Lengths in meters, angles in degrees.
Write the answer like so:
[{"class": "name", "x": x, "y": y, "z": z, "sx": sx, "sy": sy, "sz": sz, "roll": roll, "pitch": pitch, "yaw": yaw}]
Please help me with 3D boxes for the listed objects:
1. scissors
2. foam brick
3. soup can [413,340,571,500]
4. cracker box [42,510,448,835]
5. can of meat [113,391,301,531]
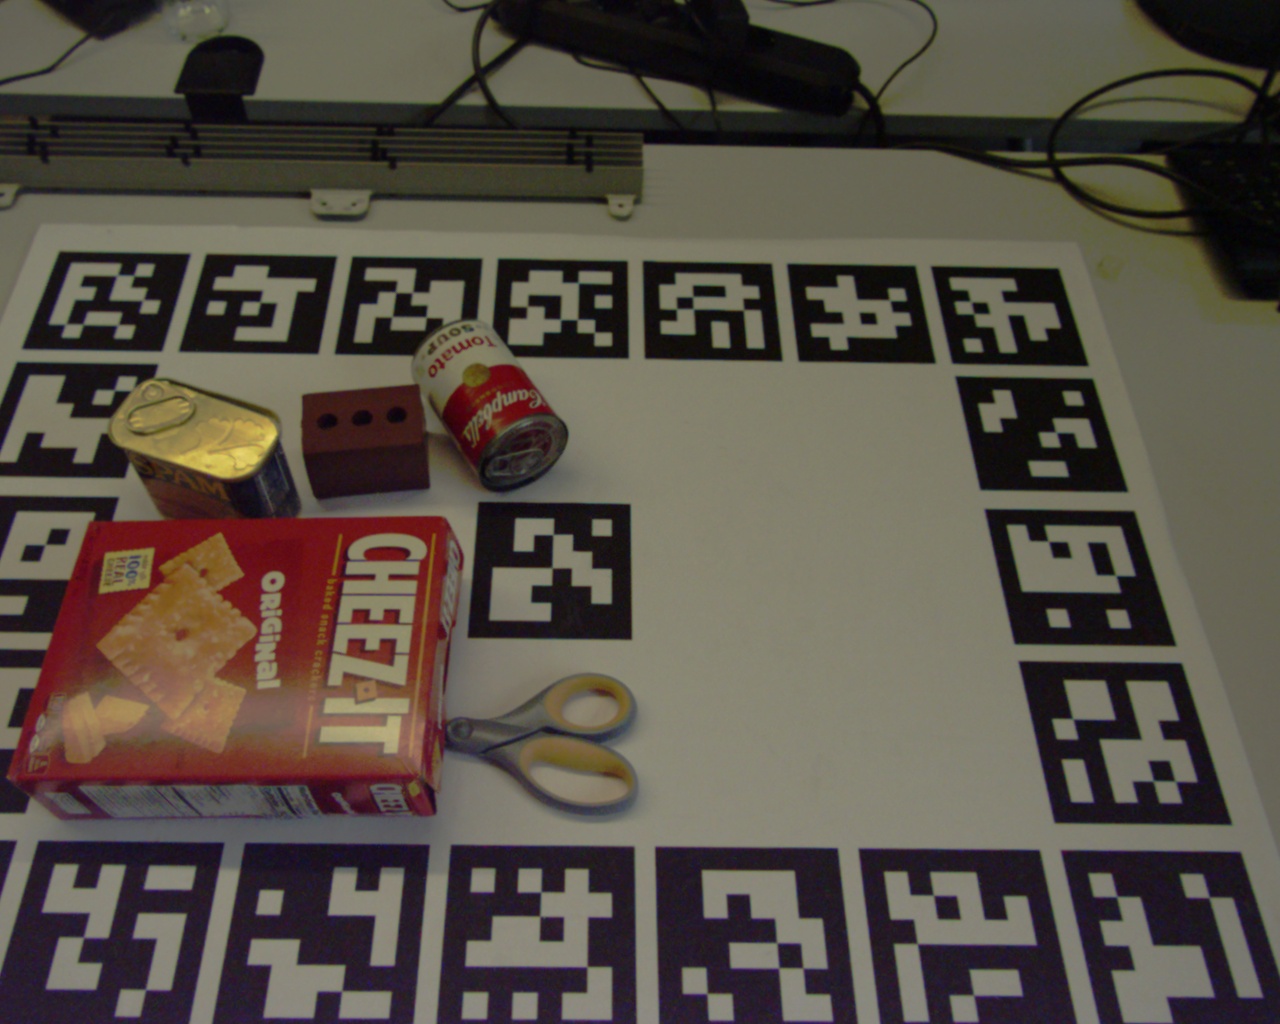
[{"class": "scissors", "x": -0.111, "y": 0.137, "z": 0.683, "sx": 0.202, "sy": 0.016, "sz": 0.088, "roll": -4, "pitch": 59, "yaw": -4}, {"class": "foam brick", "x": -0.187, "y": -0.043, "z": 0.788, "sx": 0.078, "sy": 0.051, "sz": 0.053, "roll": -9, "pitch": 60, "yaw": -7}, {"class": "soup can", "x": -0.106, "y": -0.066, "z": 0.803, "sx": 0.067, "sy": 0.067, "sz": 0.103, "roll": -33, "pitch": 60, "yaw": -20}, {"class": "cracker box", "x": -0.225, "y": 0.090, "z": 0.673, "sx": 0.213, "sy": 0.071, "sz": 0.165, "roll": -6, "pitch": 58, "yaw": -1}, {"class": "can of meat", "x": -0.281, "y": -0.026, "z": 0.752, "sx": 0.102, "sy": 0.083, "sz": 0.058, "roll": 13, "pitch": 59, "yaw": 5}]
